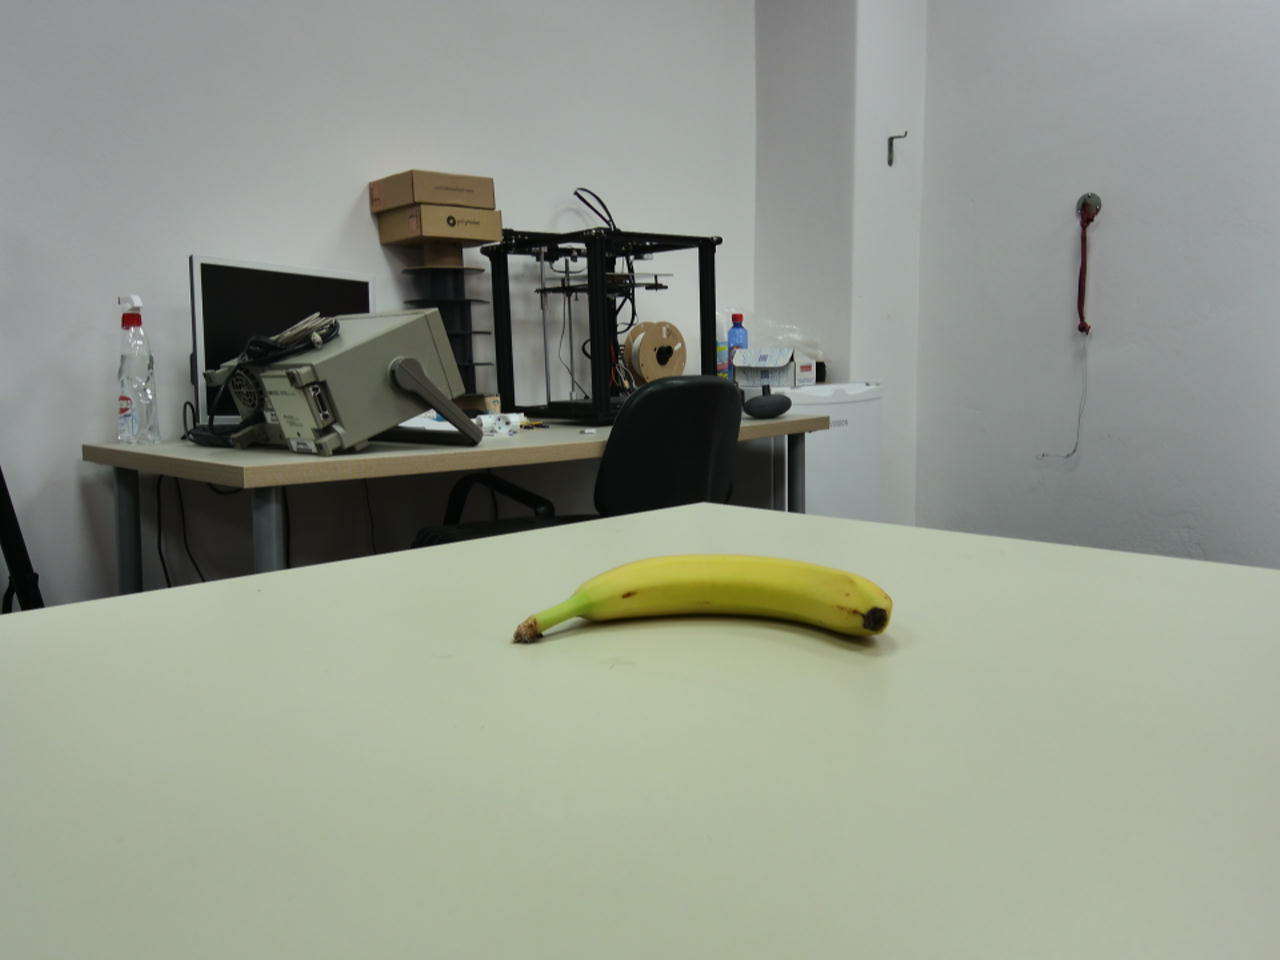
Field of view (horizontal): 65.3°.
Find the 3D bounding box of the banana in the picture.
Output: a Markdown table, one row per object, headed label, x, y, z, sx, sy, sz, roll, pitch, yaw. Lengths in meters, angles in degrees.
| label | x | y | z | sx | sy | sz | roll | pitch | yaw |
| --- | --- | --- | --- | --- | --- | --- | --- | --- | --- |
| banana | 0.036 | 0.065 | 0.562 | 0.196 | 0.041 | 0.094 | 1 | 5 | 12 |
